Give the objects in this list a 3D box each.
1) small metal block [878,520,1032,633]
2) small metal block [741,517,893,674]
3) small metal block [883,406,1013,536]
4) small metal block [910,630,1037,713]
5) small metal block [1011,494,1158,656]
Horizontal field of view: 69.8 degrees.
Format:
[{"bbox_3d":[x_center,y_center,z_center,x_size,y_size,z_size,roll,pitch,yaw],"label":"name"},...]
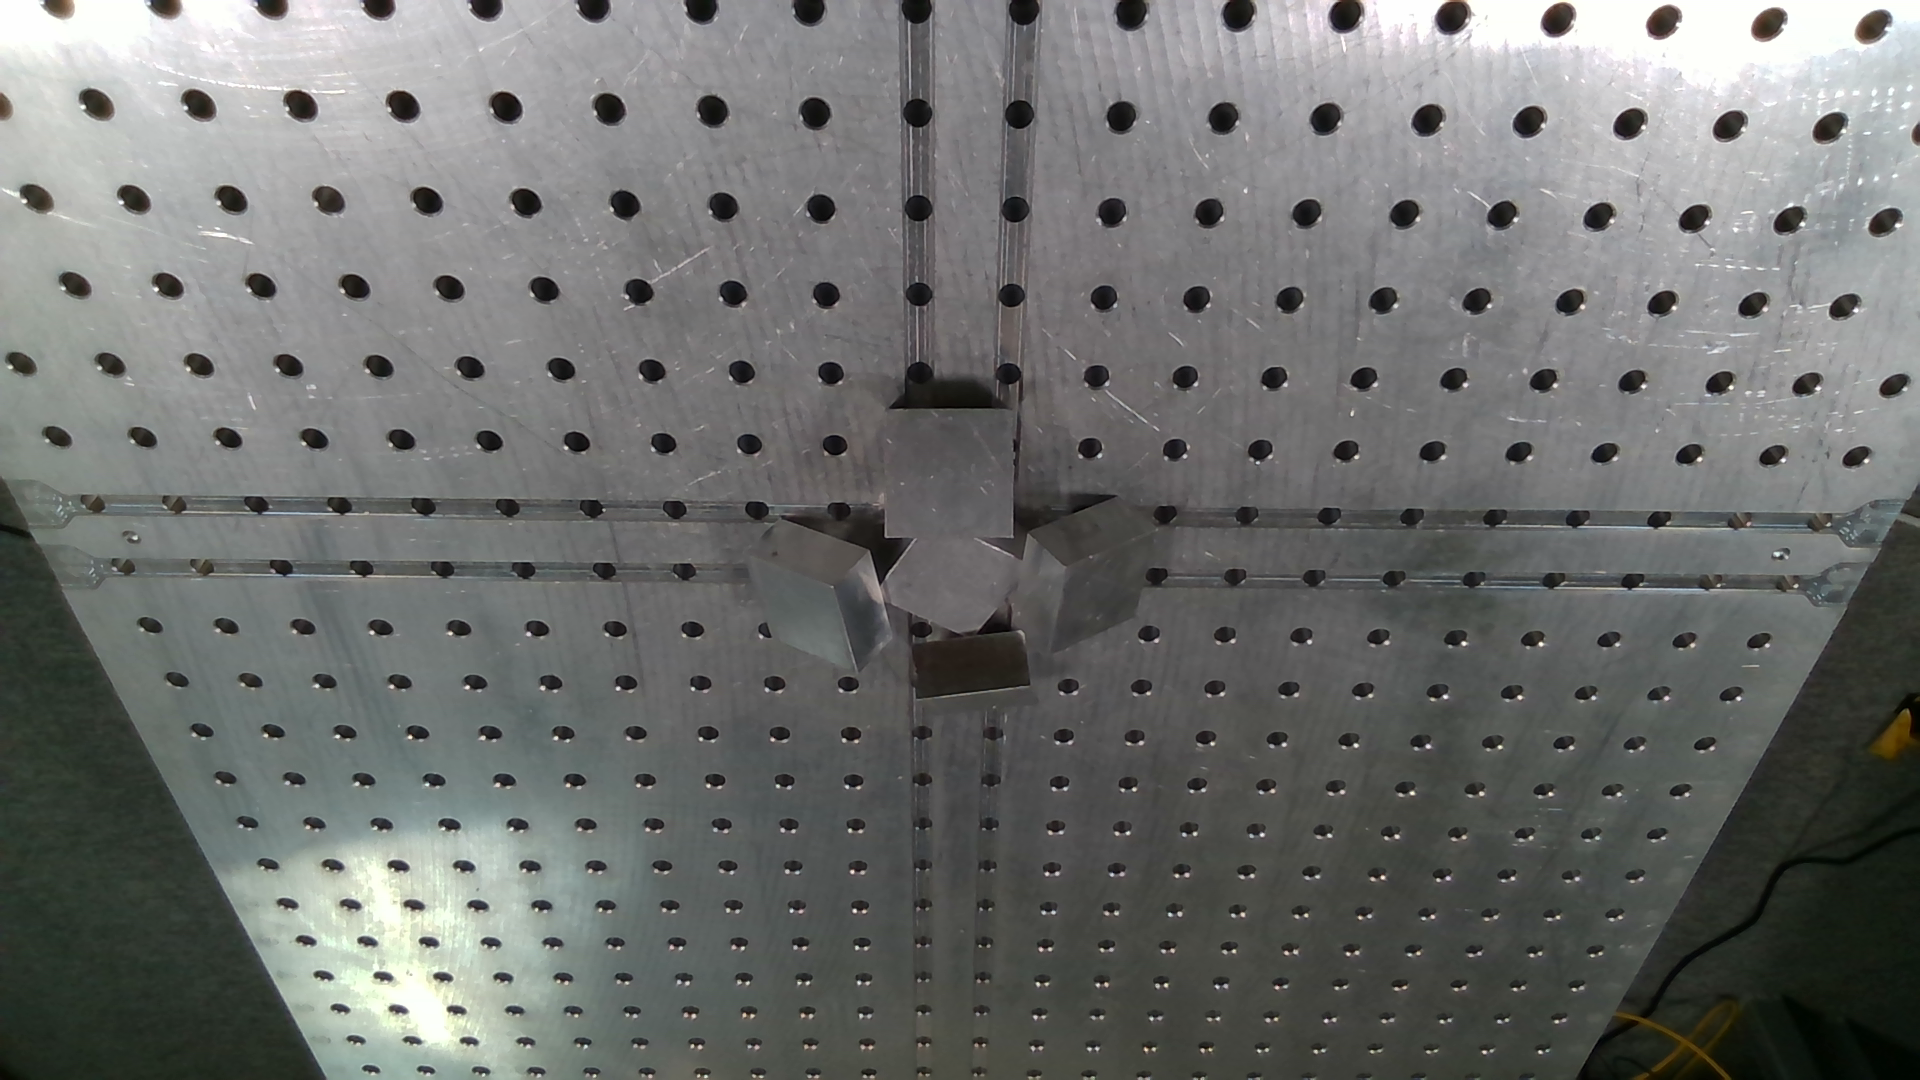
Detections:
[{"bbox_3d":[-0.003,0.009,0.589,0.050,0.025,0.050,25,126,-19],"label":"small metal block"},{"bbox_3d":[-0.060,0.023,0.585,0.050,0.025,0.050,19,138,32],"label":"small metal block"},{"bbox_3d":[-0.004,-0.028,0.544,0.050,0.025,0.050,0,95,0],"label":"small metal block"},{"bbox_3d":[0.008,0.059,0.617,0.050,0.025,0.050,-8,165,6],"label":"small metal block"},{"bbox_3d":[0.051,0.015,0.578,0.050,0.025,0.050,-21,137,-30],"label":"small metal block"}]
